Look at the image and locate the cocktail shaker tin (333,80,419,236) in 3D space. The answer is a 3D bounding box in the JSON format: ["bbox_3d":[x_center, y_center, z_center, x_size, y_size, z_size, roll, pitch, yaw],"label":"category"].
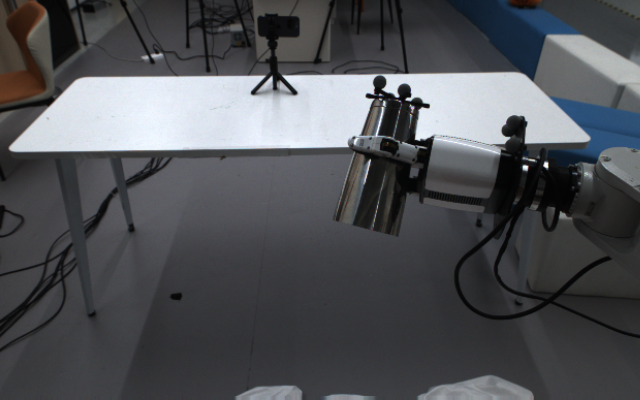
[{"bbox_3d":[0.083,-0.045,0.651,0.093,0.170,0.093,14,-2,0],"label":"cocktail shaker tin"}]
